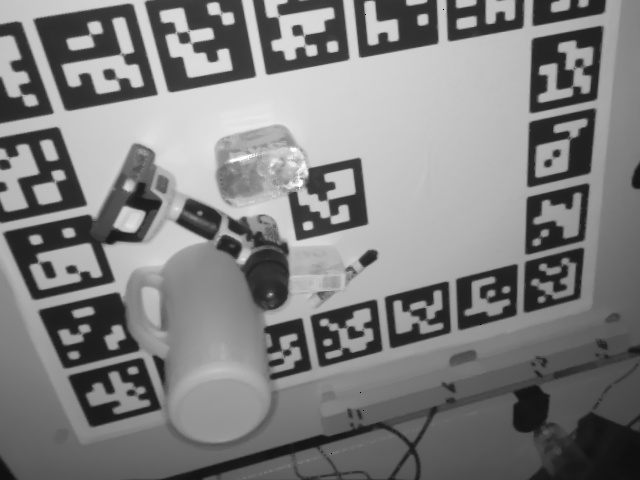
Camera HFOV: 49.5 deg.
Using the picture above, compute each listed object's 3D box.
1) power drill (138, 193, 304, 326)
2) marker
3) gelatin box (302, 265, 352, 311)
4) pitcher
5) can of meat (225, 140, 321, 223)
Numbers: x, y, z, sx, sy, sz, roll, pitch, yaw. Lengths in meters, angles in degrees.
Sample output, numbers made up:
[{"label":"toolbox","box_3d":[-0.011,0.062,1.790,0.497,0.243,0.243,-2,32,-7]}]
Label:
[{"label":"power drill","box_3d":[-0.106,0.021,0.782,0.188,0.185,0.057,22,108,-16]},{"label":"marker","box_3d":[0.048,0.085,0.942,0.121,0.019,0.020,-36,118,5]},{"label":"gelatin box","box_3d":[-0.008,0.060,0.889,0.090,0.073,0.030,-2,114,-10]},{"label":"pitcher","box_3d":[-0.135,0.130,0.806,0.191,0.242,0.132,16,110,-26]},{"label":"can of meat","box_3d":[-0.057,-0.070,0.800,0.102,0.084,0.057,-13,121,-5]}]
